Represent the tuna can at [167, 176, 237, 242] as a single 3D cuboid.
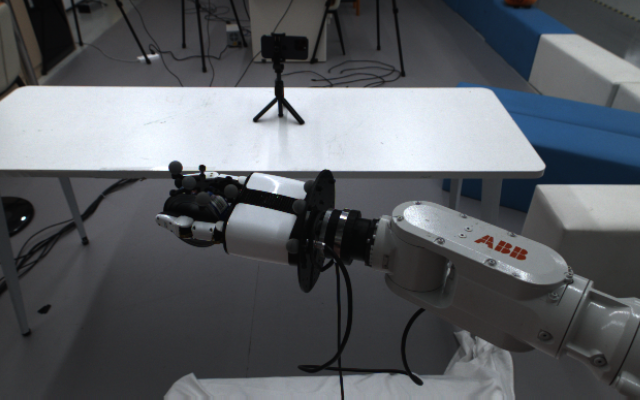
[{"bbox_3d":[-0.161,0.020,0.647,0.085,0.085,0.034,12,32,14],"label":"tuna can"}]
